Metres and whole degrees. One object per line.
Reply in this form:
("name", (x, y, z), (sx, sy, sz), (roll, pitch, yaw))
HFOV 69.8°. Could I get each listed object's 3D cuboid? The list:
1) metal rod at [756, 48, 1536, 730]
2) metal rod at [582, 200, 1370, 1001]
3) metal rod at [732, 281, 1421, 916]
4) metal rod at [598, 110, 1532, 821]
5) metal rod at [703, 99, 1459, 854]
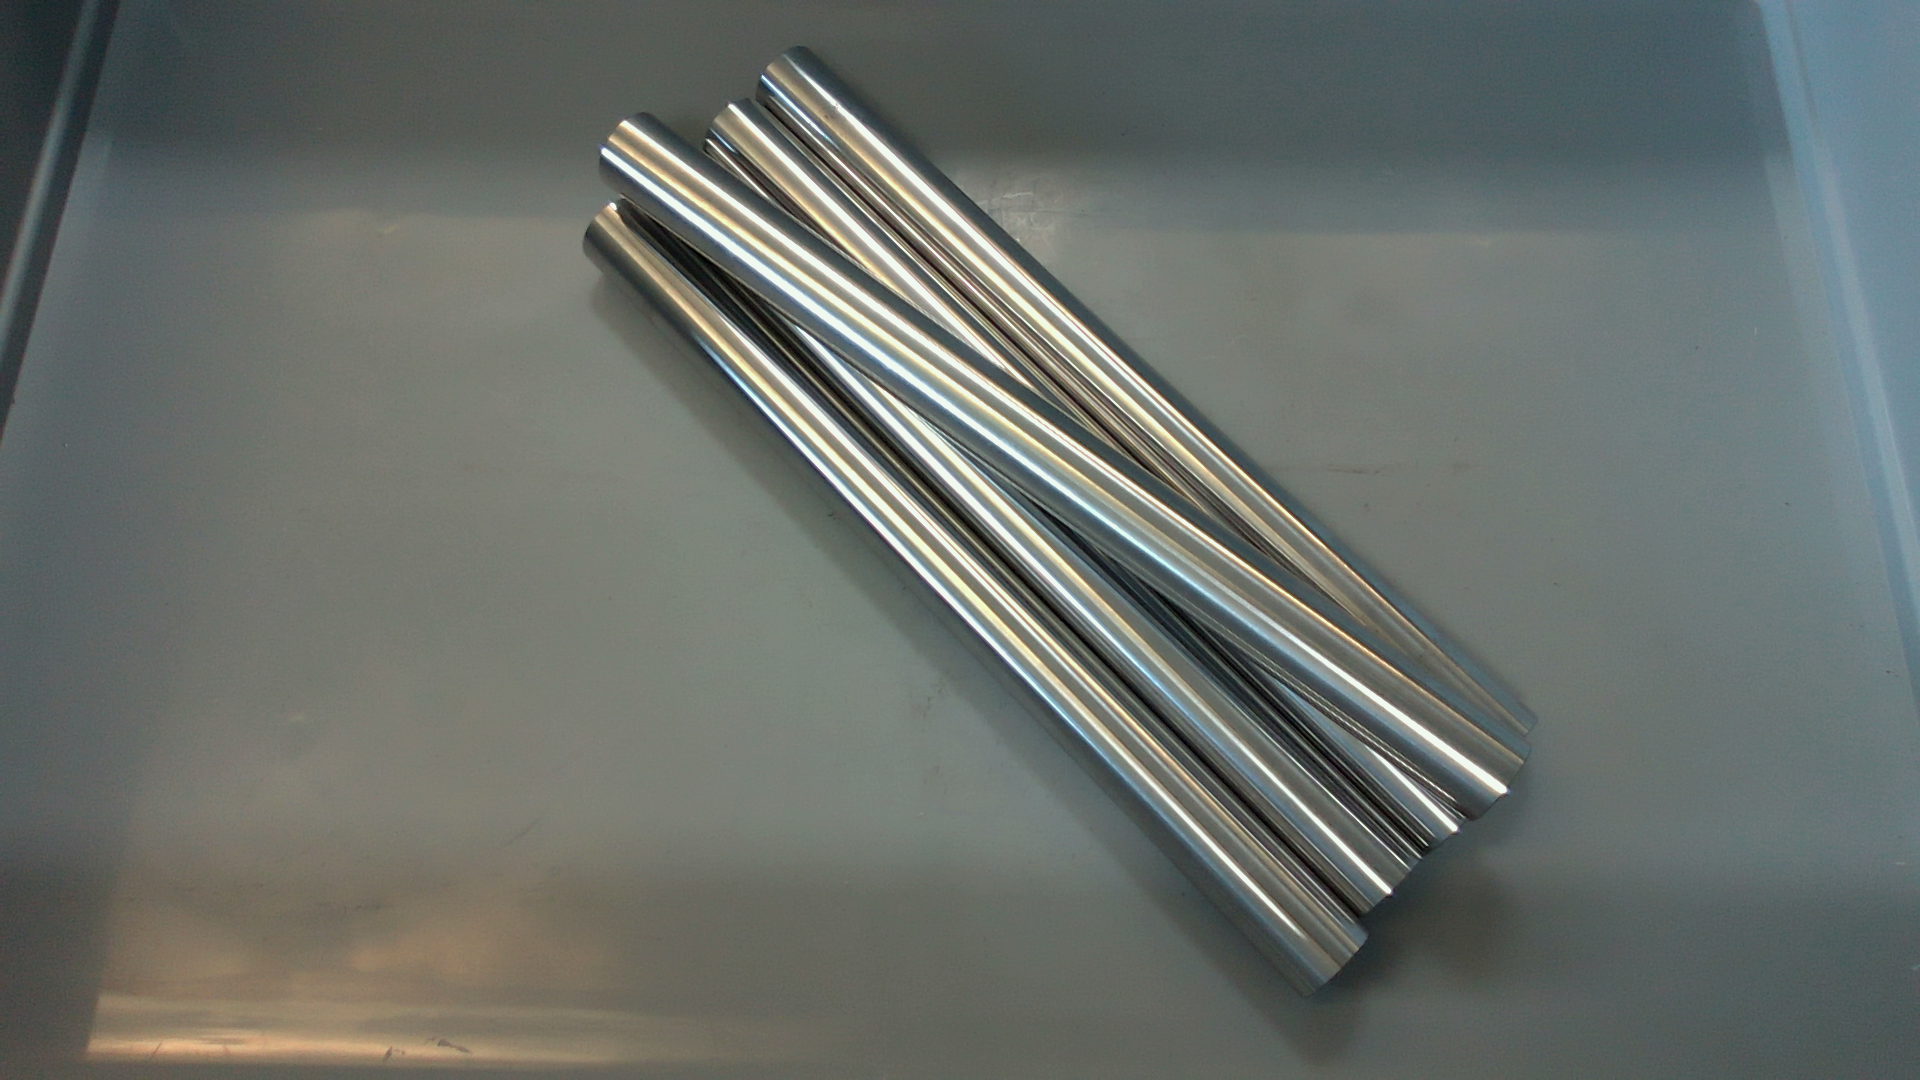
("metal rod", (0.045, -0.046, 0.411), (0.025, 0.025, 0.300), (-41, 75, -13))
("metal rod", (-0.005, 0.006, 0.391), (0.025, 0.025, 0.300), (-41, 75, -13))
("metal rod", (0.010, -0.012, 0.398), (0.025, 0.025, 0.300), (-41, 75, -13))
("metal rod", (0.019, -0.028, 0.376), (0.300, 0.025, 0.025), (37, 74, 12))
("metal rod", (0.029, -0.027, 0.404), (0.025, 0.025, 0.300), (-41, 75, -13))
